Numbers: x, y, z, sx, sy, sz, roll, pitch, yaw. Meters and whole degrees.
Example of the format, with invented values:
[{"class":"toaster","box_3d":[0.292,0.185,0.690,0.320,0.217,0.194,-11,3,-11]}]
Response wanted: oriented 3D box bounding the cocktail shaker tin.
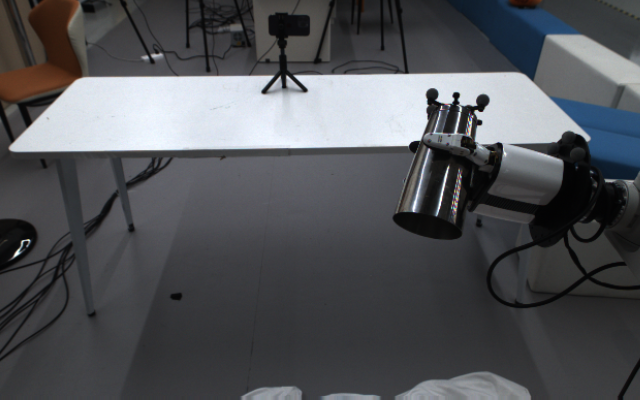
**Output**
[{"class":"cocktail shaker tin","box_3d":[0.165,-0.042,0.658,0.093,0.093,0.170,13,70,15]}]
